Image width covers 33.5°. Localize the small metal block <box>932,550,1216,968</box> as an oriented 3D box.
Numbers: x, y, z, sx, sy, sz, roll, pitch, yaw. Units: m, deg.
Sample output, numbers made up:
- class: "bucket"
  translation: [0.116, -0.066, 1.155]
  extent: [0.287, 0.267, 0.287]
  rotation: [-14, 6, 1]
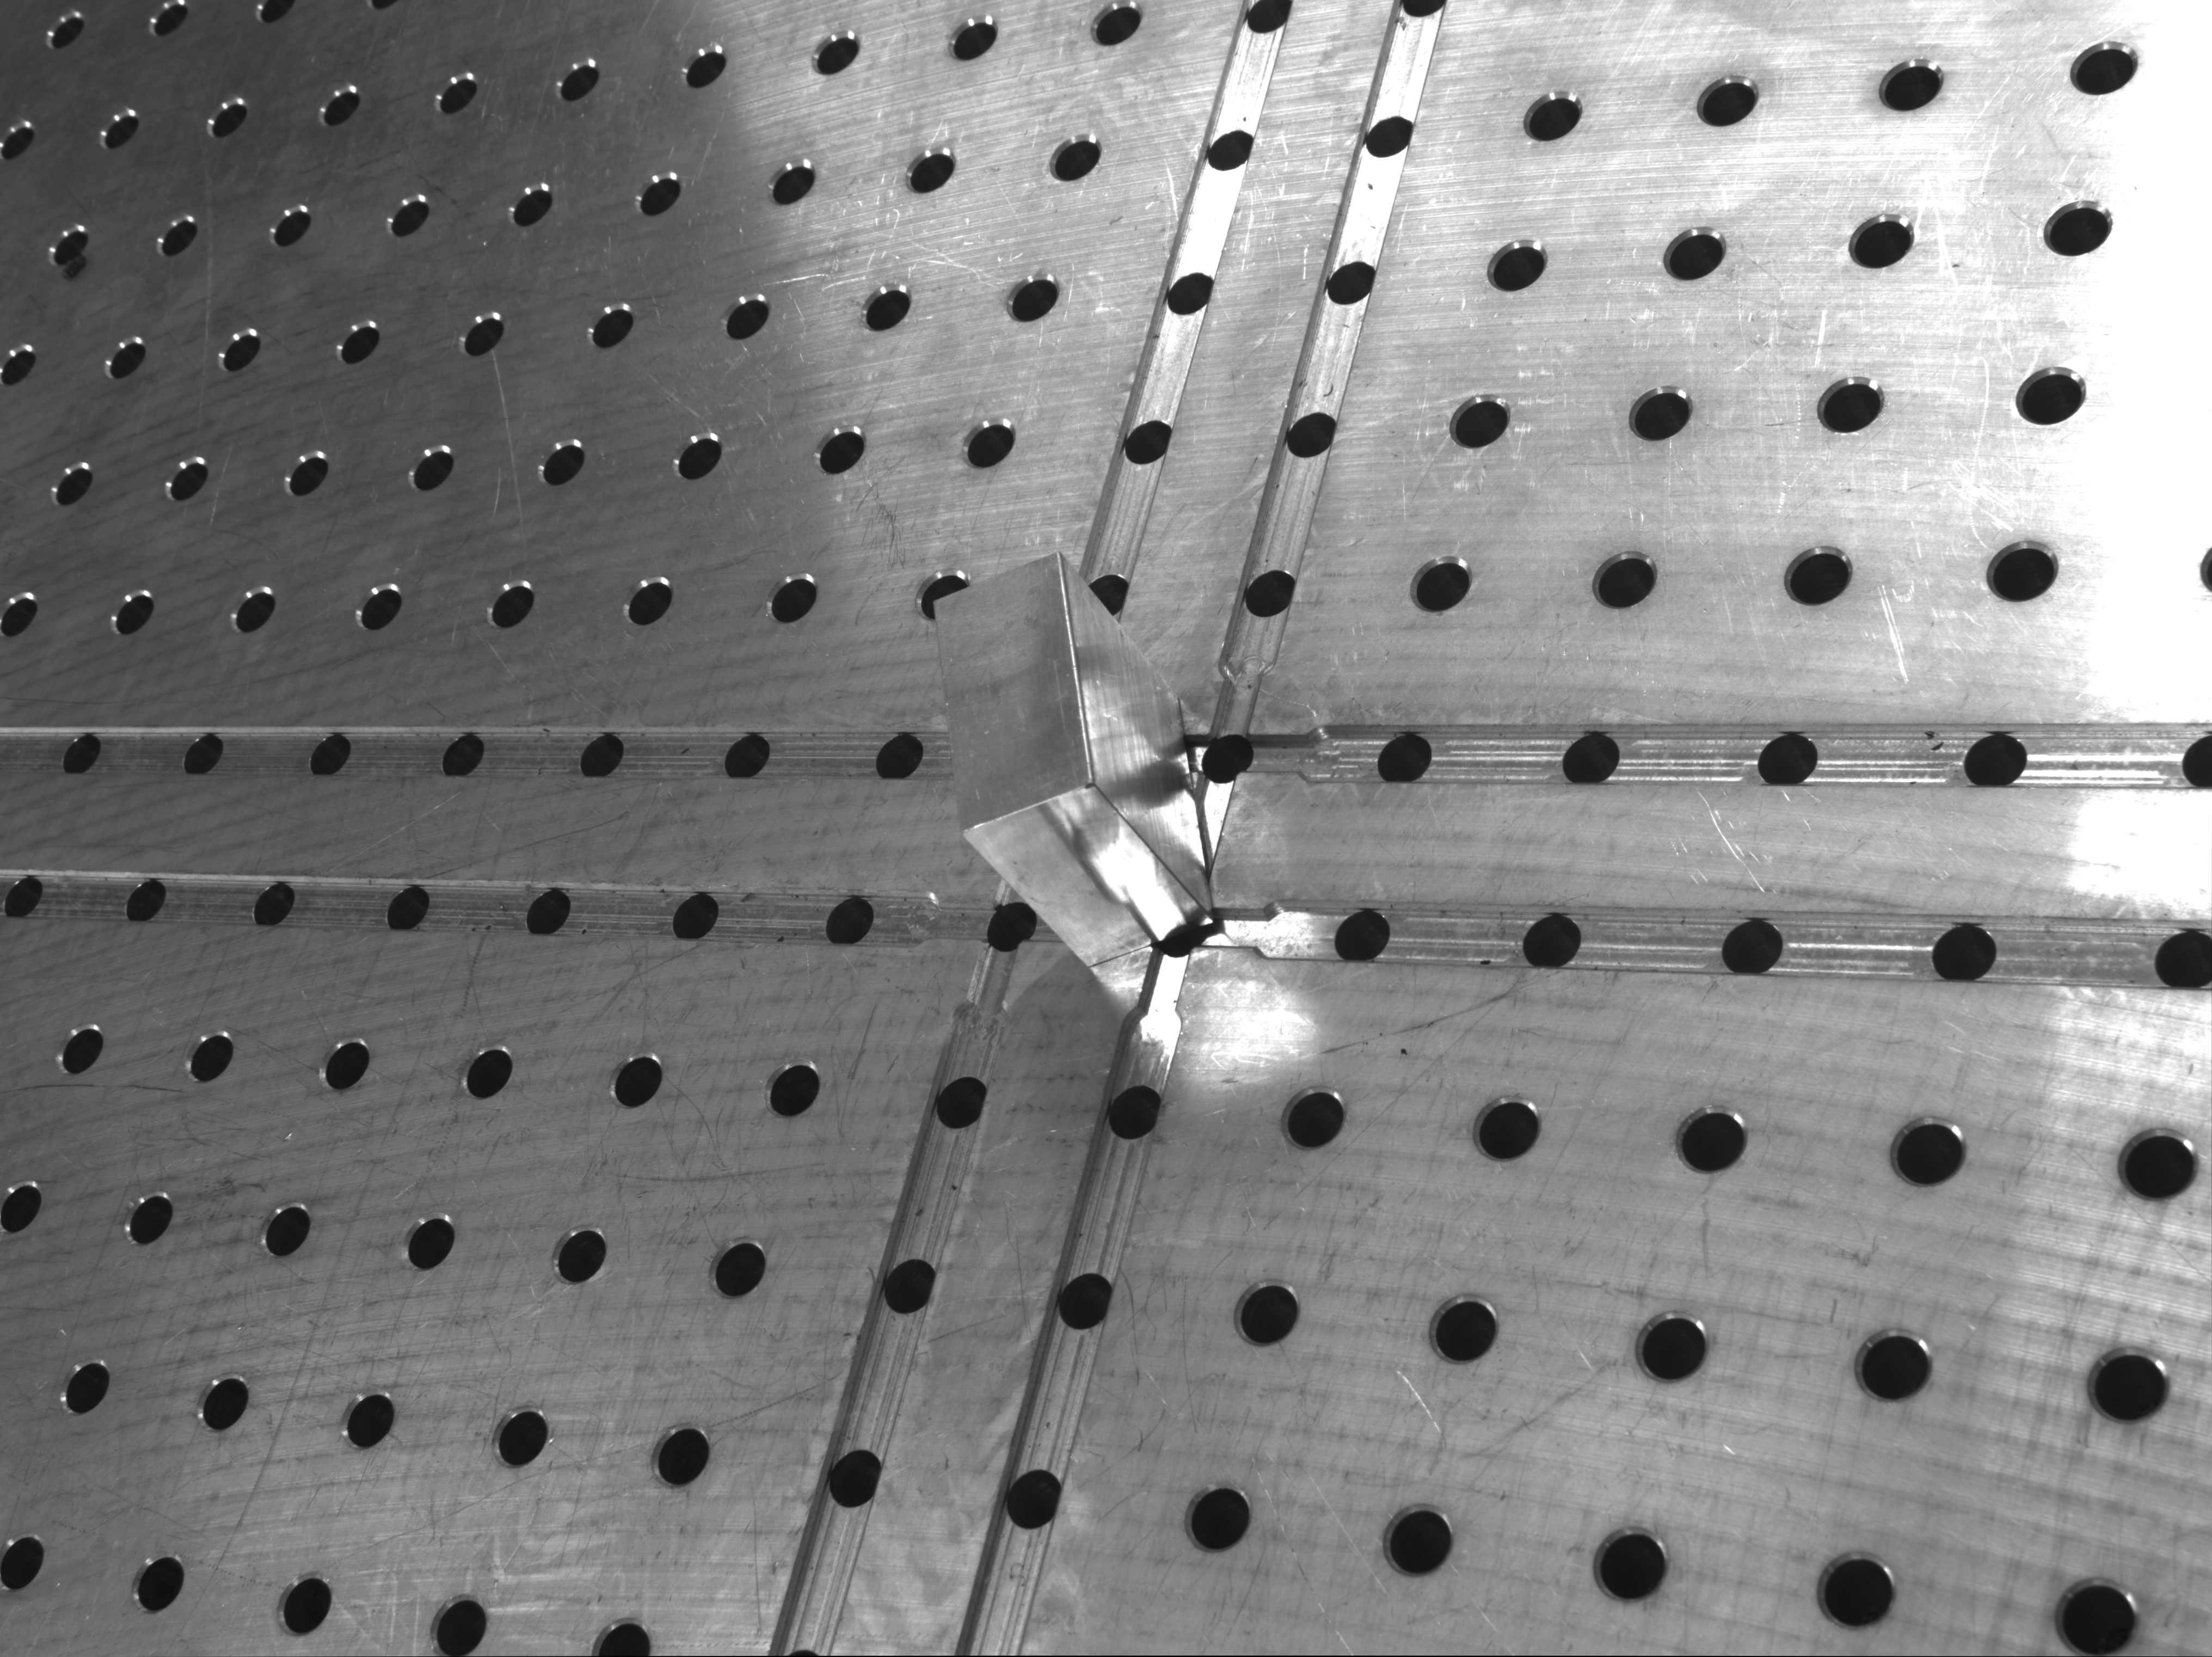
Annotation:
- class: "small metal block"
  translation: [-0.006, -0.012, 0.642]
  extent: [0.025, 0.050, 0.050]
  rotation: [-20, 54, 16]
